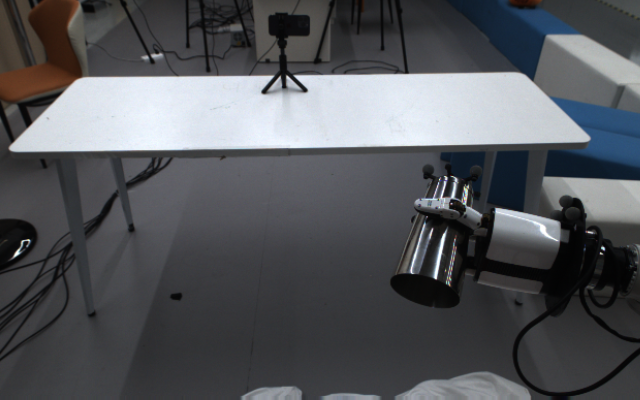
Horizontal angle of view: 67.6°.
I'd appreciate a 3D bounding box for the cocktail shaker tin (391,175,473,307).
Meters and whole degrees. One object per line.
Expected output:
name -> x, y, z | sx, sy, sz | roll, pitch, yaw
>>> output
cocktail shaker tin -> 0.163, 0.049, 0.666 | 0.093, 0.093, 0.170 | 14, 57, 16
